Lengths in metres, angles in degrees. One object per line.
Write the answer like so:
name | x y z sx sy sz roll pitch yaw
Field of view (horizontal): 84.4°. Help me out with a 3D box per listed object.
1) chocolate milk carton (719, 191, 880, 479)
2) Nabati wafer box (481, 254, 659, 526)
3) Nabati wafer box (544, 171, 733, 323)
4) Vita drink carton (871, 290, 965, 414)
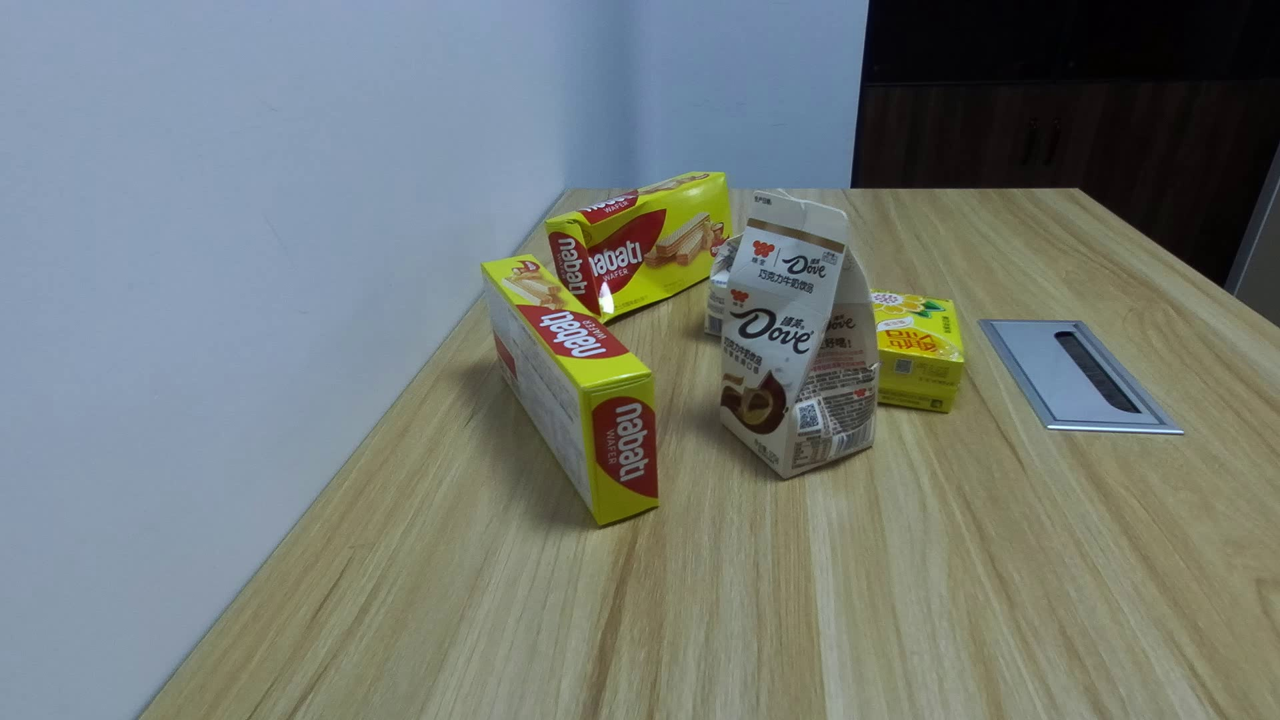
chocolate milk carton | 0.097 -0.018 0.417 0.073 0.155 0.084 -15 32 -22
Nabati wafer box | -0.049 0.007 0.455 0.042 0.093 0.202 -16 32 -20
Nabati wafer box | 0.011 -0.105 0.647 0.204 0.096 0.042 -27 27 -38
Vita drink carton | 0.197 -0.009 0.512 0.076 0.043 0.109 10 29 15
